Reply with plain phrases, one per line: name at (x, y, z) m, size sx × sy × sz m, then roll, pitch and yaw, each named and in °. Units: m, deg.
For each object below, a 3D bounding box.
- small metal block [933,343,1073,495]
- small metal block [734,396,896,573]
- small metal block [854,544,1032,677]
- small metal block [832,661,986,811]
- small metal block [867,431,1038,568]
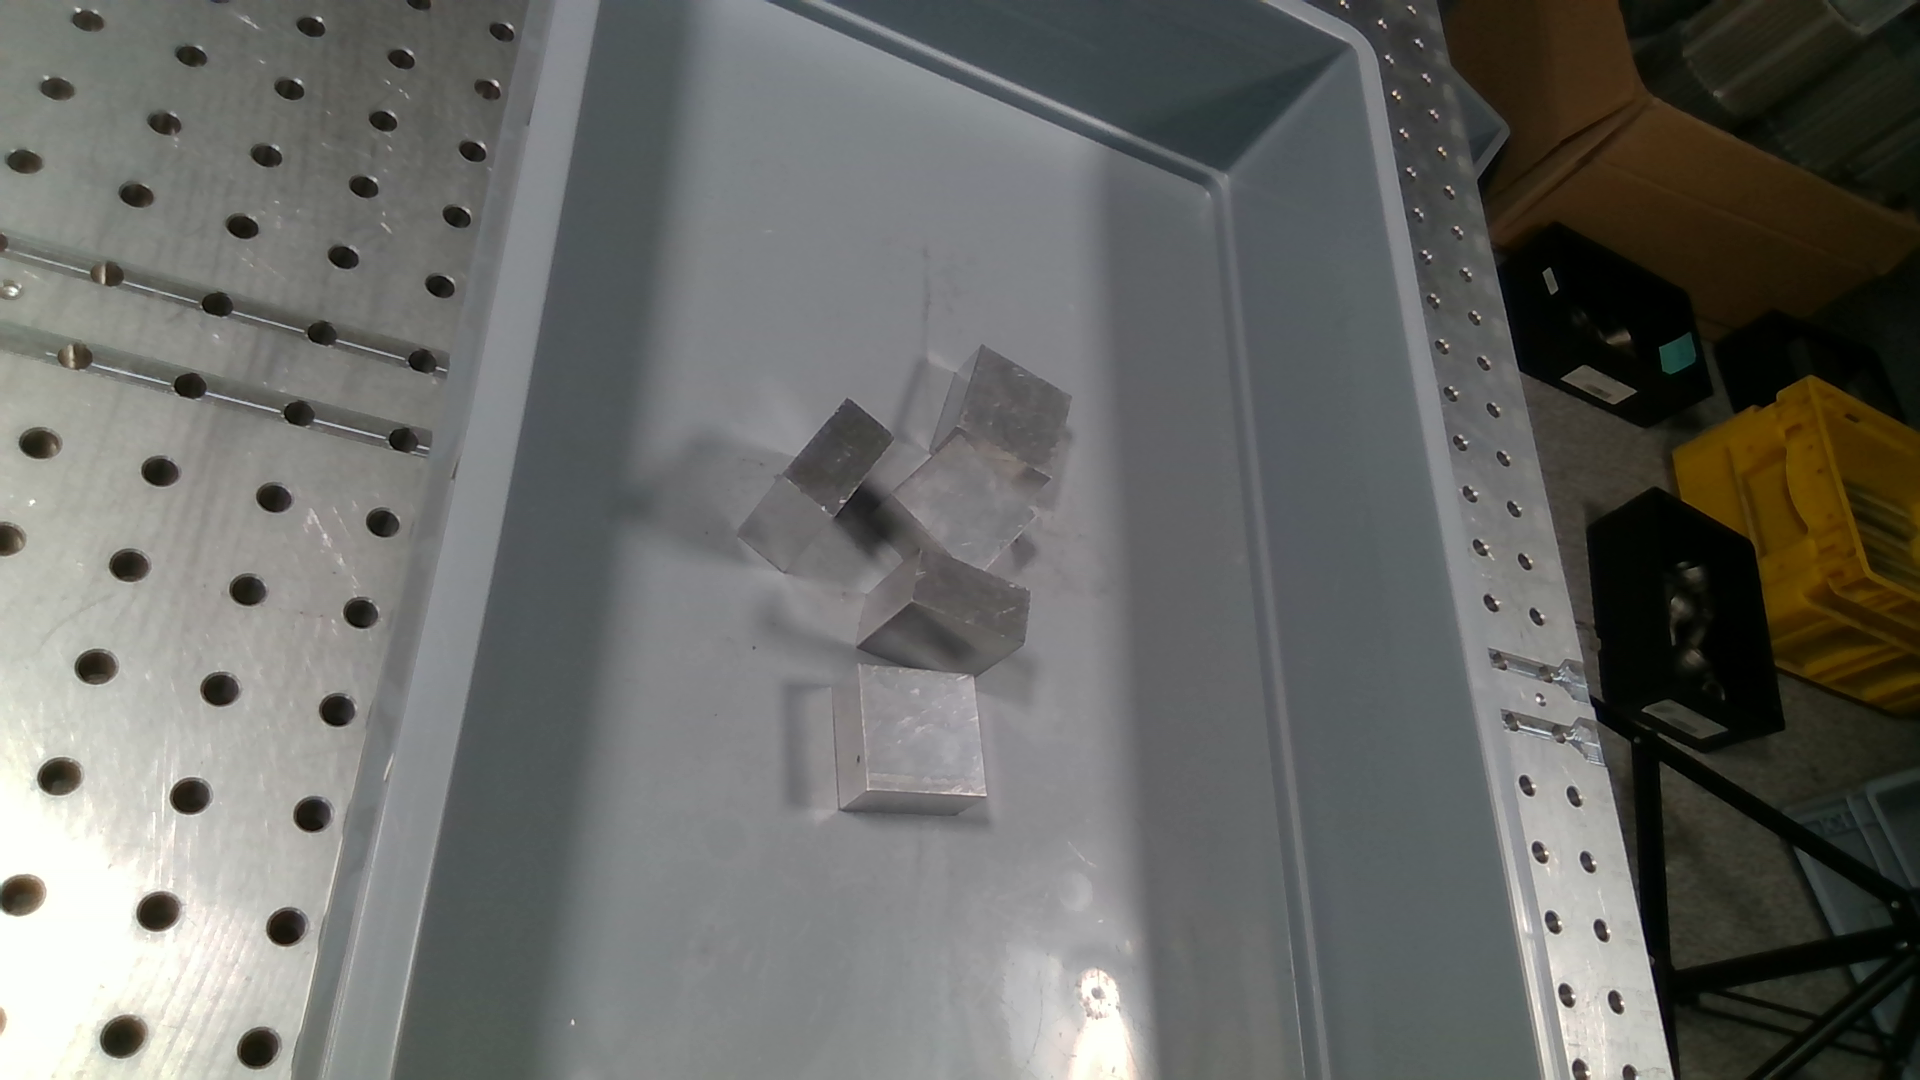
small metal block at (0.019, -0.053, 0.624) m, size 0.050 × 0.025 × 0.050 m, roll 28°, pitch 54°, yaw -16°
small metal block at (-0.057, -0.021, 0.544) m, size 0.025 × 0.050 × 0.050 m, roll 40°, pitch 52°, yaw -6°
small metal block at (-0.007, 0.031, 0.547) m, size 0.050 × 0.050 × 0.025 m, roll 23°, pitch 56°, yaw -20°
small metal block at (-0.020, 0.077, 0.530) m, size 0.050 × 0.025 × 0.050 m, roll 9°, pitch 61°, yaw -28°
small metal block at (-0.003, -0.010, 0.586) m, size 0.050 × 0.025 × 0.050 m, roll 47°, pitch 51°, yaw -2°
